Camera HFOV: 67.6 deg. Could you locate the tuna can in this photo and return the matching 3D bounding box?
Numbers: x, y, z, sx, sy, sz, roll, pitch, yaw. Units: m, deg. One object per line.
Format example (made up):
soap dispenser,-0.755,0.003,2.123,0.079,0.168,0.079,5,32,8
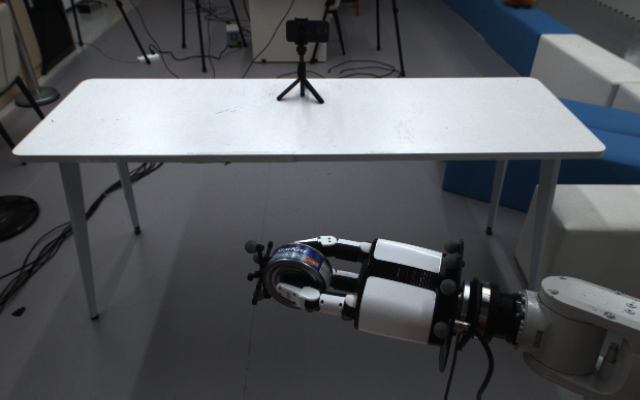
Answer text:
tuna can,-0.025,0.101,0.616,0.085,0.085,0.034,9,33,10
